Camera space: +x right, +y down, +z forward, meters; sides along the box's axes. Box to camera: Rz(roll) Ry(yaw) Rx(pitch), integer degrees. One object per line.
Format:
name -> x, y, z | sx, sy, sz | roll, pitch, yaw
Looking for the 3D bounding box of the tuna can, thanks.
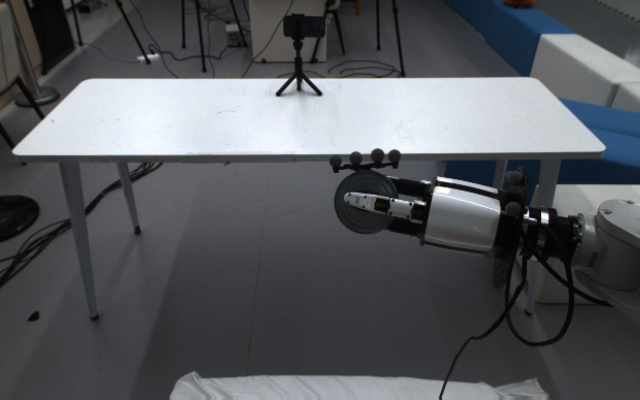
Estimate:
tuna can -> 0.065, 0.002, 0.653 | 0.085, 0.085, 0.034 | 10, 3, 11
